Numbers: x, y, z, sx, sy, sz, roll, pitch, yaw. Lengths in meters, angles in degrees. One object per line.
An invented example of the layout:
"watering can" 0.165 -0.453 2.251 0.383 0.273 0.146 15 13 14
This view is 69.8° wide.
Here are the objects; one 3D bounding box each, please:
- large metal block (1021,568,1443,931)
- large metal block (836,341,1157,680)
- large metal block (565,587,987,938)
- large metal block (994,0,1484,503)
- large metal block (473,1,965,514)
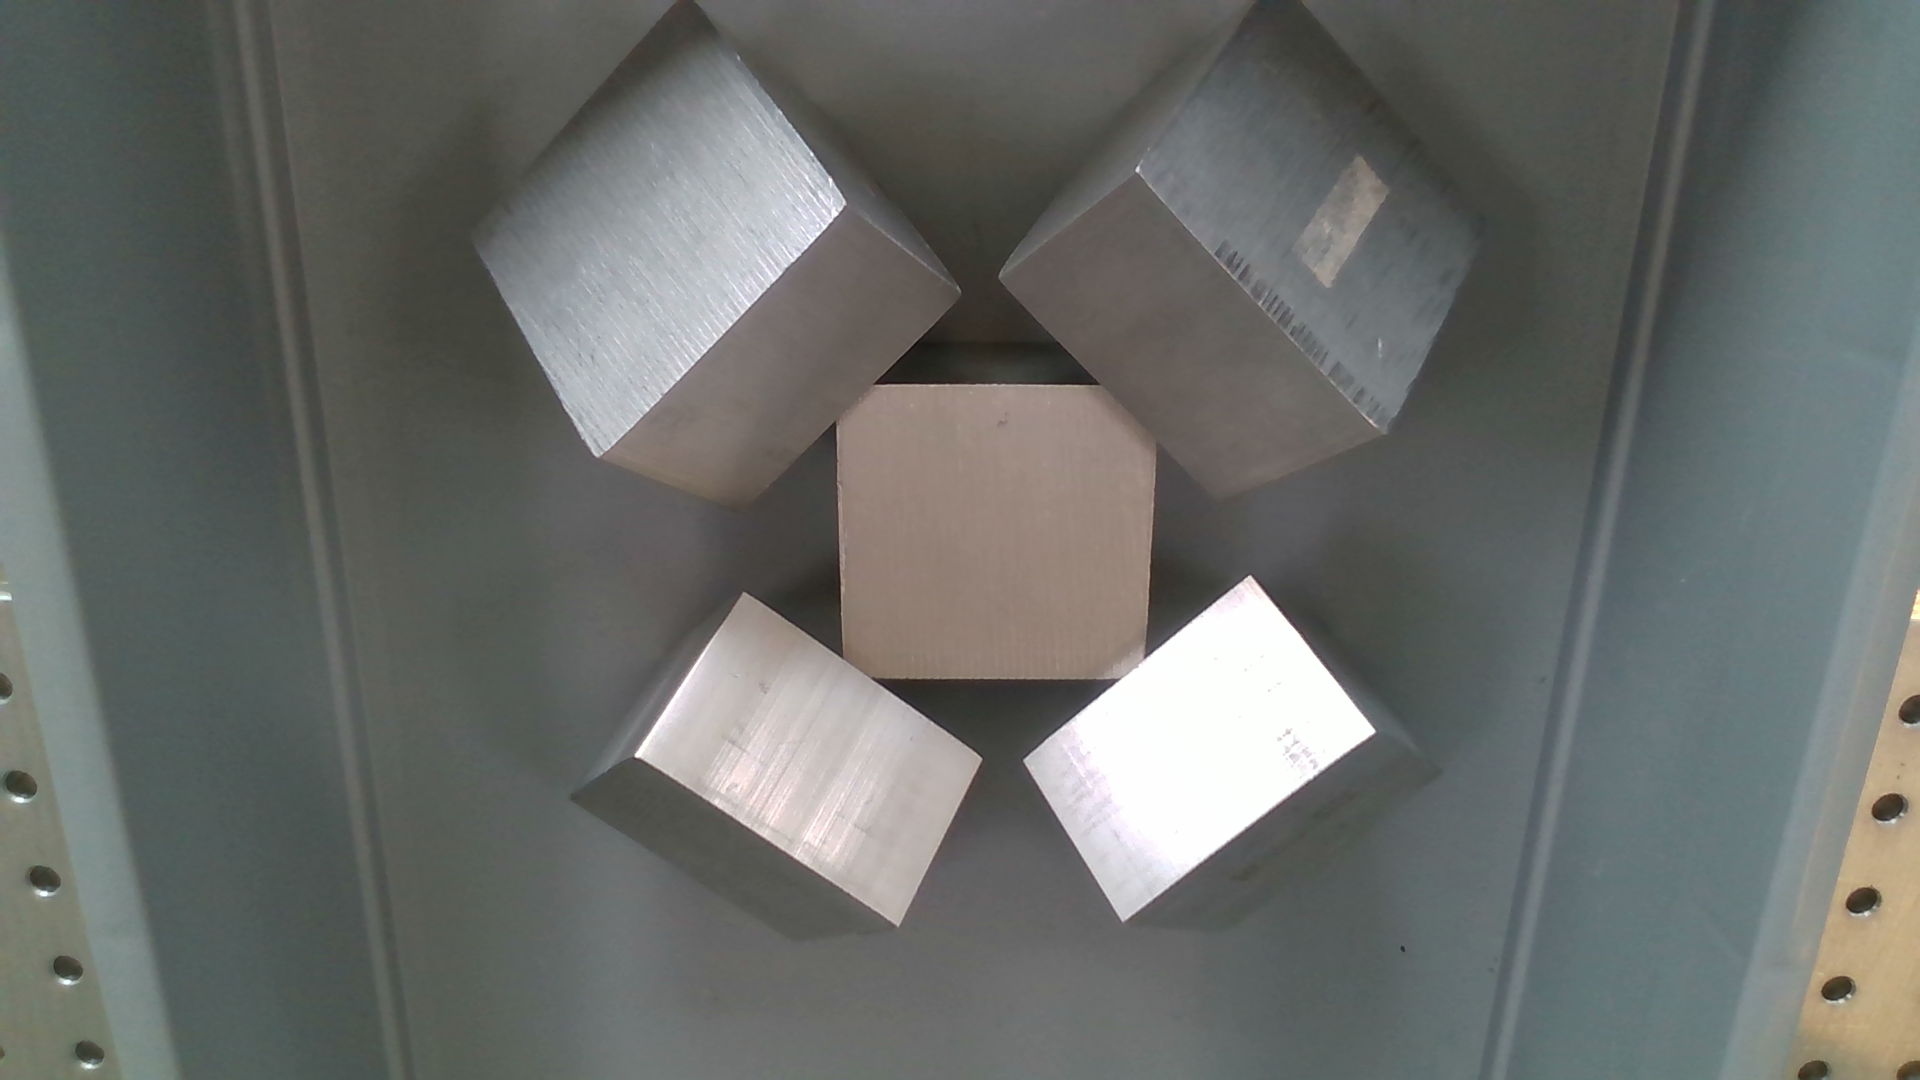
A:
"large metal block" 0.077 0.062 0.380 0.080 0.050 0.080 -42 148 13
"large metal block" 0.009 -0.009 0.375 0.080 0.050 0.080 1 110 0
"large metal block" -0.053 0.065 0.380 0.080 0.050 0.080 36 151 -13
"large metal block" 0.068 -0.070 0.329 0.080 0.080 0.050 42 148 -14
"large metal block" -0.060 -0.067 0.333 0.080 0.050 0.080 -42 61 14
